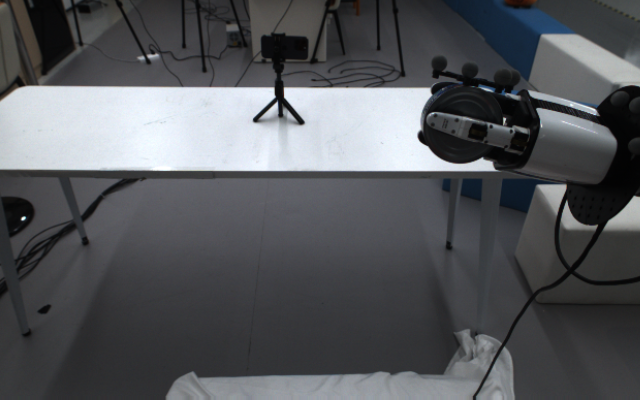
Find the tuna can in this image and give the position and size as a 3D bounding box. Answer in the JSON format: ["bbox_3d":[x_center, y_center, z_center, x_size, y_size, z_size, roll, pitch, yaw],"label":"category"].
[{"bbox_3d":[0.158,-0.090,0.544,0.085,0.085,0.034,4,19,3],"label":"tuna can"}]
